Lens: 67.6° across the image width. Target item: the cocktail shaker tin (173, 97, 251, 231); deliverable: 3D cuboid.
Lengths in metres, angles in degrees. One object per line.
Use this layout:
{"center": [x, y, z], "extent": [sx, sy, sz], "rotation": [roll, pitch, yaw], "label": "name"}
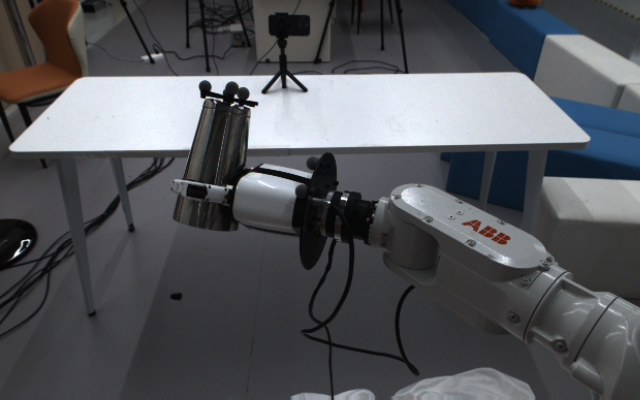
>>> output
{"center": [-0.146, -0.050, 0.678], "extent": [0.093, 0.170, 0.093], "rotation": [12, 5, -1], "label": "cocktail shaker tin"}
